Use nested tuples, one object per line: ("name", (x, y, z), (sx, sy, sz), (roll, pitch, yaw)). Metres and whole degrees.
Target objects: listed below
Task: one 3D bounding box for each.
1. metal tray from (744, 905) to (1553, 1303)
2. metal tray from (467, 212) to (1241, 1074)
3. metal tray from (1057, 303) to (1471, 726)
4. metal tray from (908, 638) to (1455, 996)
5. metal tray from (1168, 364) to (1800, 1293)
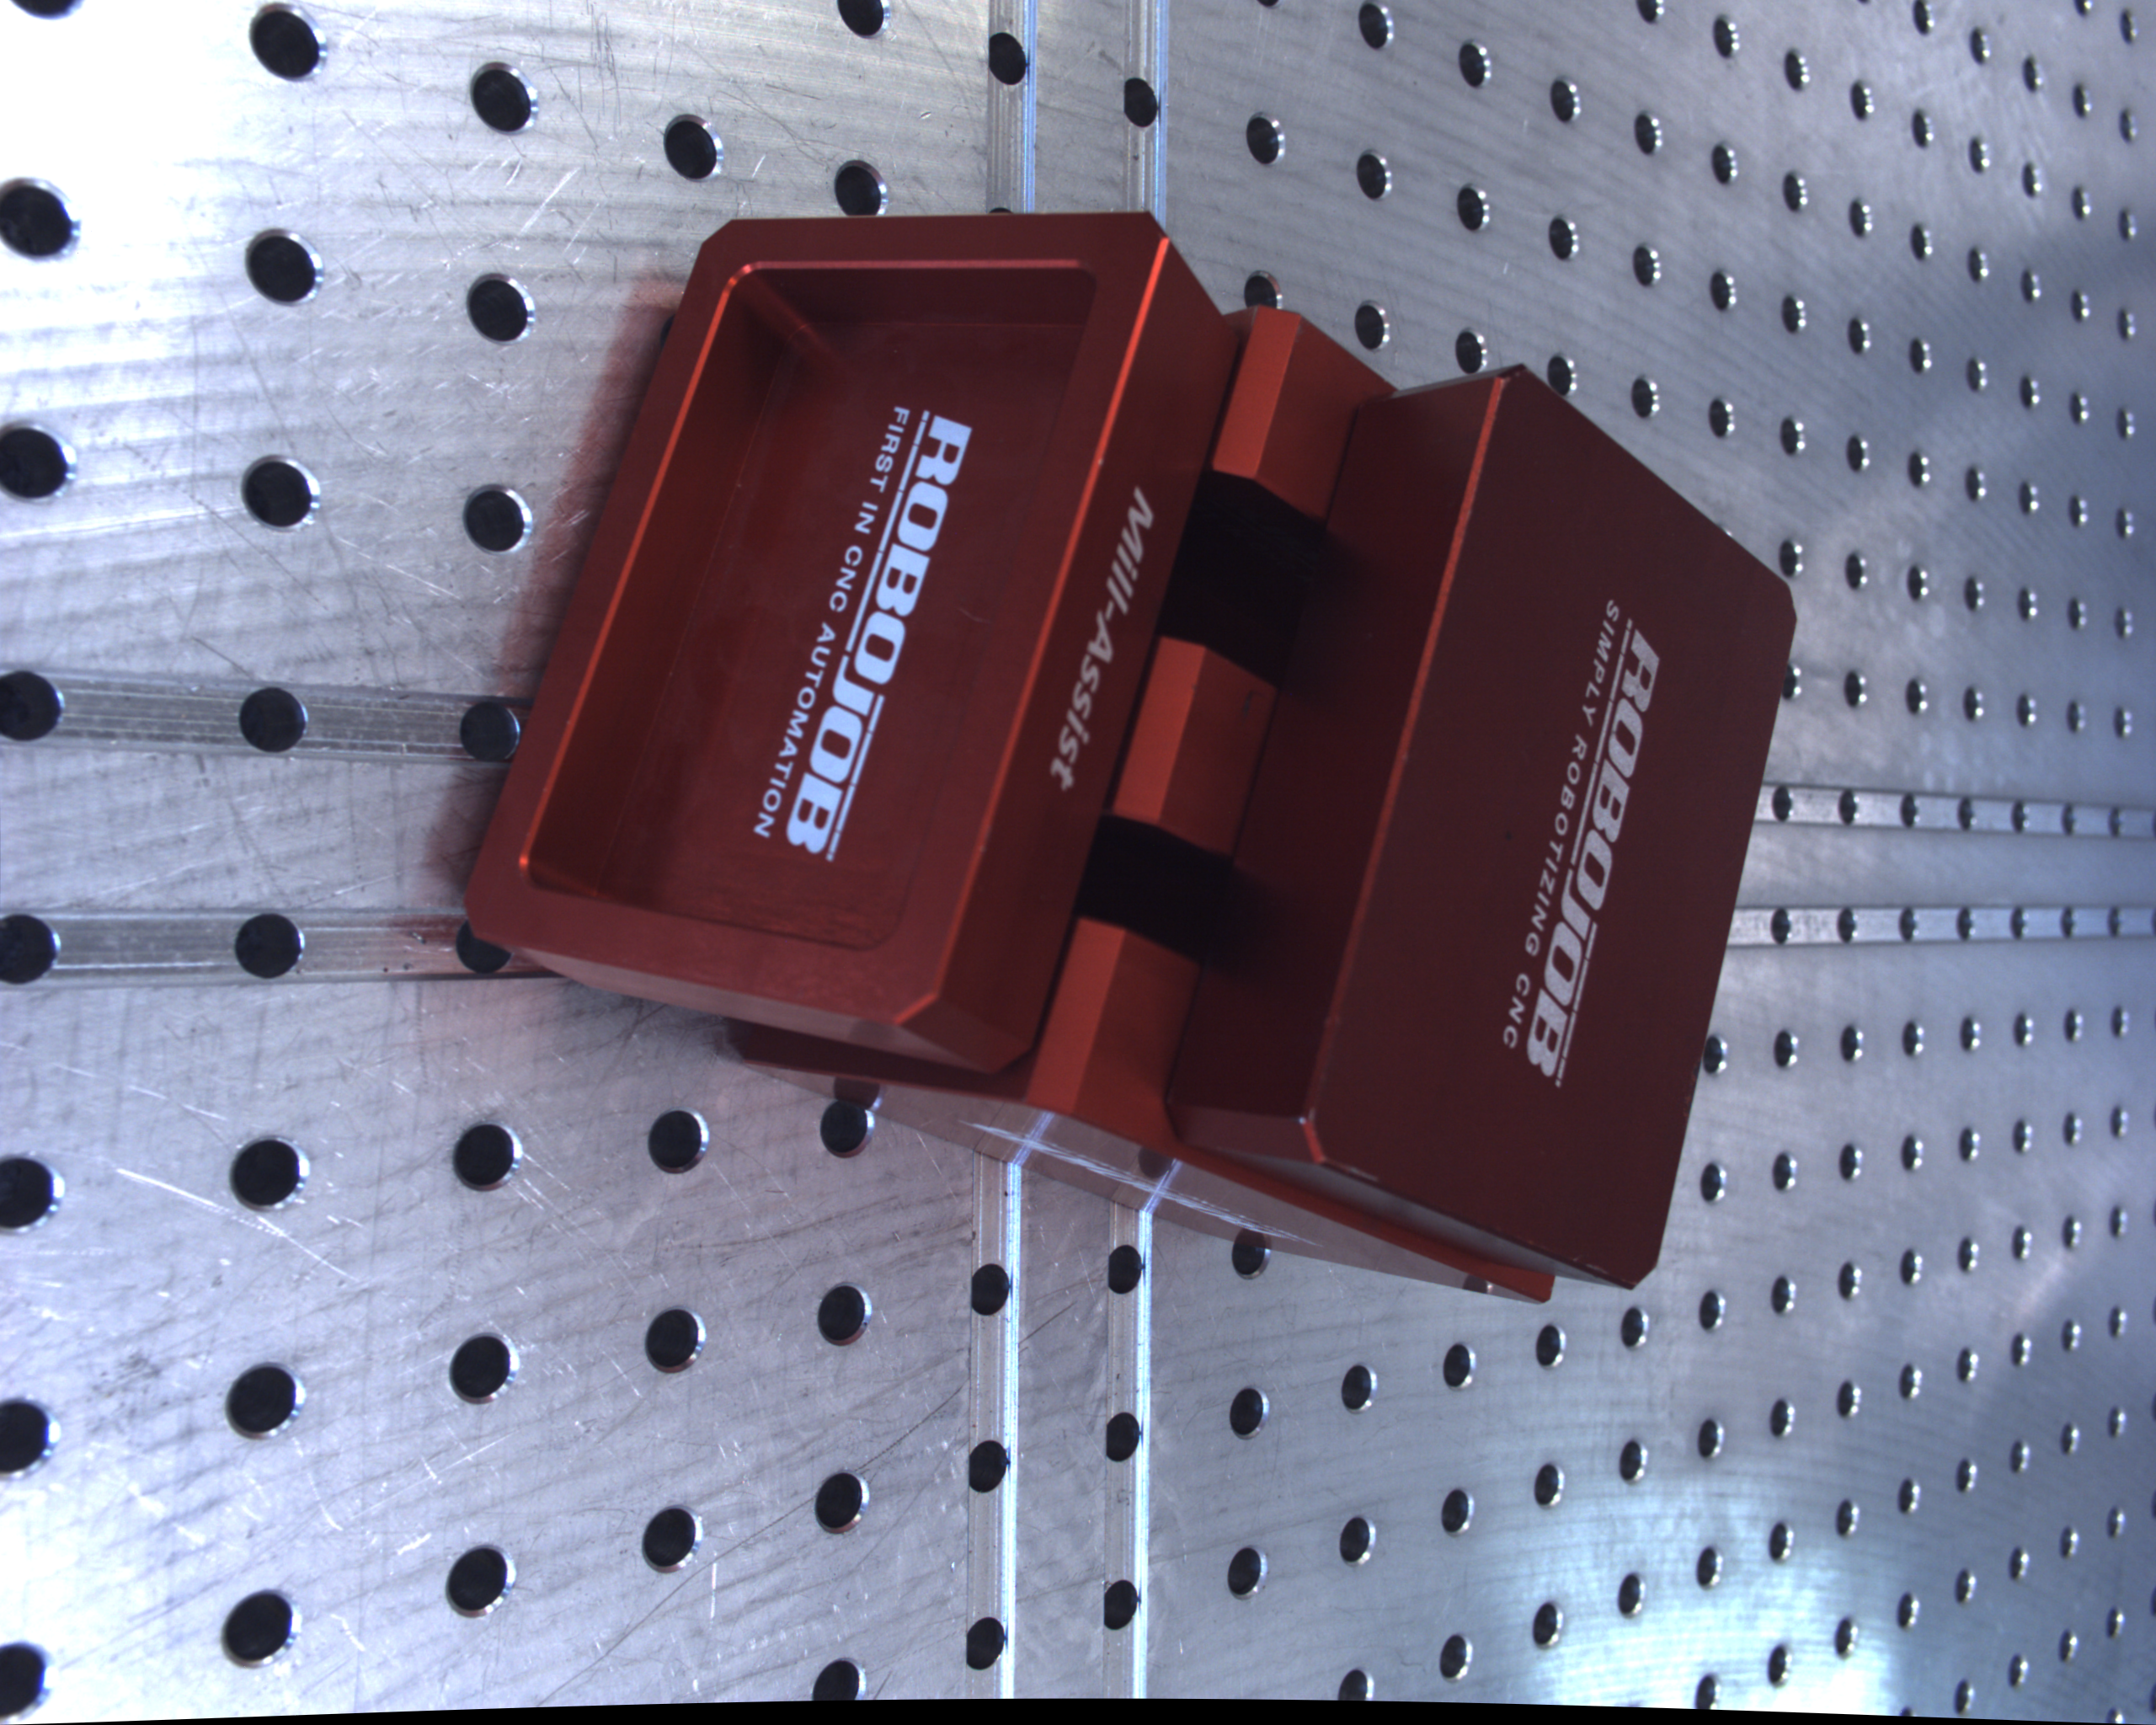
("metal tray", (0.018, 0.044, 0.380), (0.131, 0.090, 0.030), (27, 74, -37))
("metal tray", (-0.035, -0.039, 0.333), (0.030, 0.090, 0.130), (38, 65, -58))
("metal tray", (0.047, -0.055, 0.404), (0.131, 0.090, 0.030), (26, 74, -37))
("metal tray", (0.031, 0.001, 0.390), (0.131, 0.090, 0.030), (25, 73, -38))
("metal tray", (0.072, -0.003, 0.347), (0.090, 0.030, 0.130), (26, 74, -37))
